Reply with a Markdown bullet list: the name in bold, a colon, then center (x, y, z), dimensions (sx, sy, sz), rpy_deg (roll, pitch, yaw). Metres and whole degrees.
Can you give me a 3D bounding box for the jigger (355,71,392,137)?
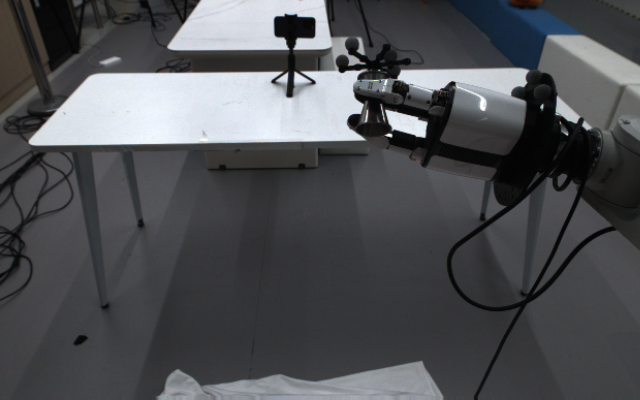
- **jigger**: center (0.063, -0.116, 0.578), dimensions (0.043, 0.043, 0.071), rpy_deg (3, 76, 1)
